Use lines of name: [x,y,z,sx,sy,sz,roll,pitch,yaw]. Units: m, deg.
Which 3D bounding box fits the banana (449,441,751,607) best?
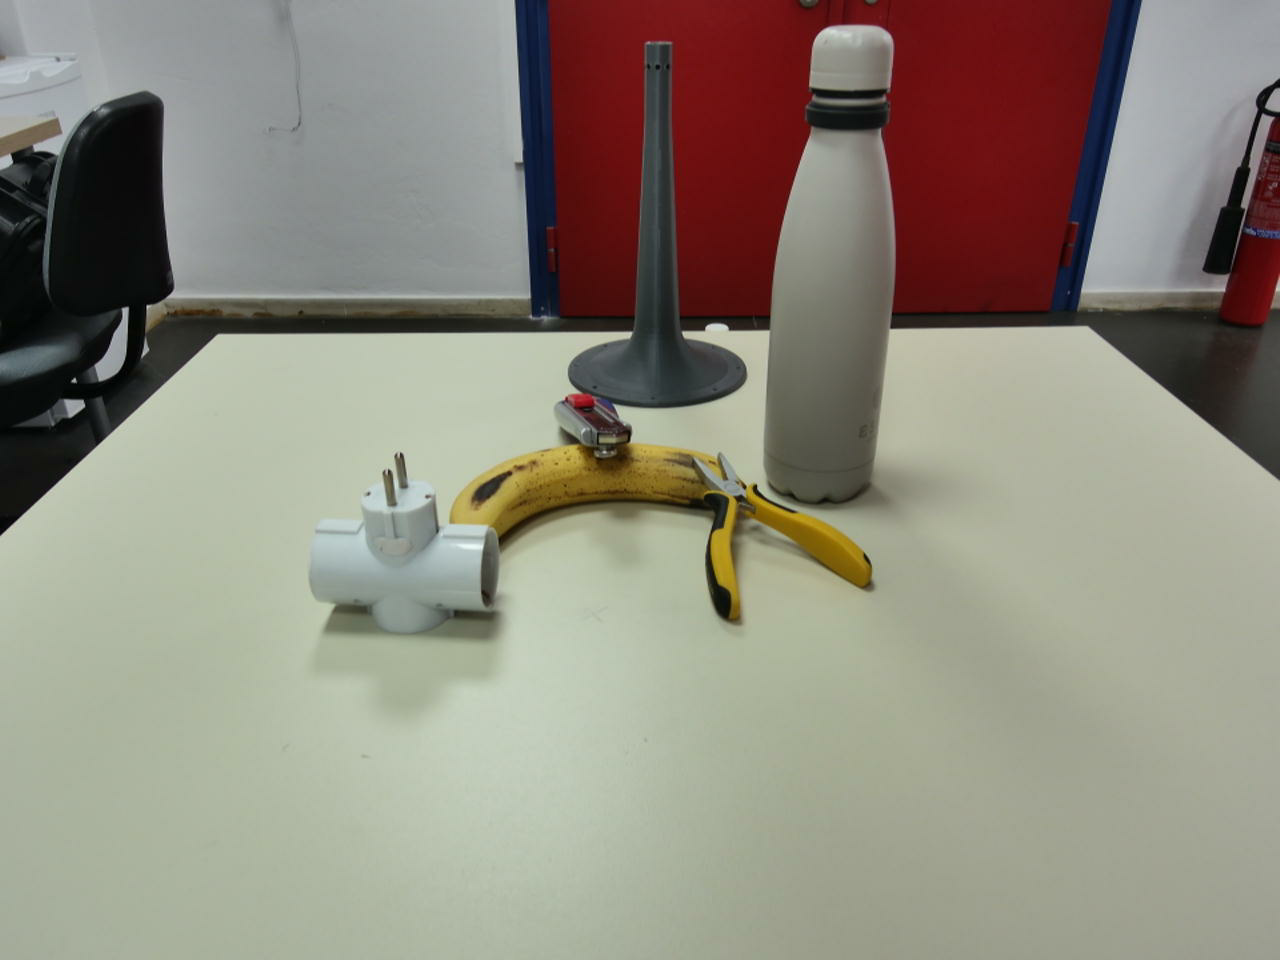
banana: [-0.034,0.010,0.613,0.186,0.038,0.097,-14,29,-25]
